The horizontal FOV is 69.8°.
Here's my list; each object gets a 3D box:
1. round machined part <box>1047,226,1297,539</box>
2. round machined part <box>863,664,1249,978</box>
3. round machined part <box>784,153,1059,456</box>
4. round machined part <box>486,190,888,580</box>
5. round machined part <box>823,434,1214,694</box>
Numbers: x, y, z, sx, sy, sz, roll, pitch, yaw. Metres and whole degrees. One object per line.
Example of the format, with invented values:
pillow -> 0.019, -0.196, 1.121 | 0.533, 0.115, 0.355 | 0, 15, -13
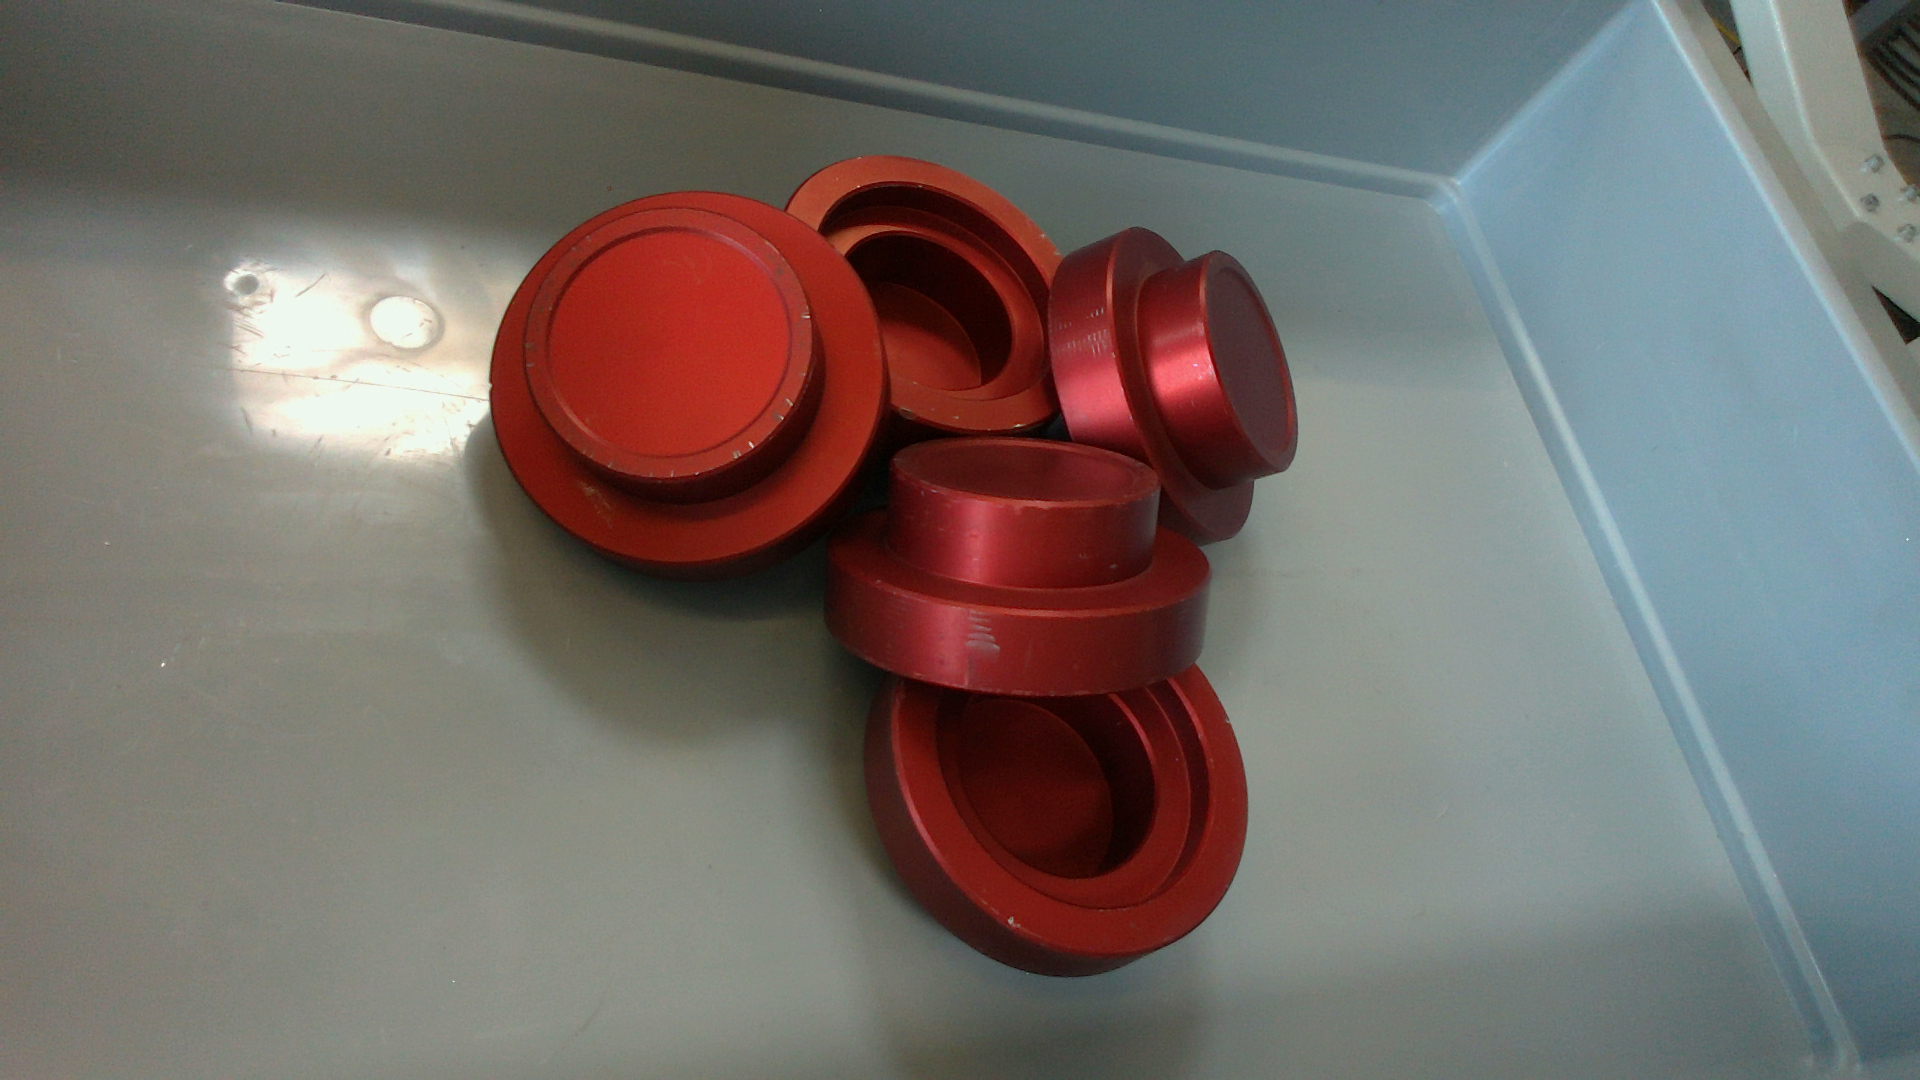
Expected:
round machined part -> 0.069, -0.048, 0.415 | 0.098, 0.042, 0.098 | 34, 48, -48
round machined part -> 0.021, 0.061, 0.350 | 0.098, 0.042, 0.098 | 14, 56, -21
round machined part -> -0.014, -0.063, 0.407 | 0.098, 0.042, 0.098 | 14, 56, -21
round machined part -> -0.068, -0.042, 0.338 | 0.098, 0.042, 0.098 | 0, 76, 0
round machined part -> 0.015, 0.001, 0.348 | 0.098, 0.098, 0.042 | -7, 109, -31
